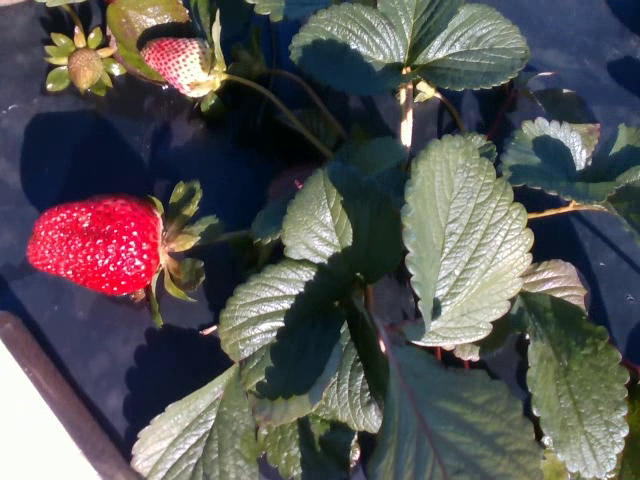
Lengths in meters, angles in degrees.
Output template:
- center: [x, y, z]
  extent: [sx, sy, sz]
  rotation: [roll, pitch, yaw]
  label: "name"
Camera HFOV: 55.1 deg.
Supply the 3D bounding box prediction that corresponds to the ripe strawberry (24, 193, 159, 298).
- center: [-0.095, 0.000, 0.265]
  extent: [0.058, 0.066, 0.061]
  rotation: [2, 2, 42]
  label: "ripe strawberry"
